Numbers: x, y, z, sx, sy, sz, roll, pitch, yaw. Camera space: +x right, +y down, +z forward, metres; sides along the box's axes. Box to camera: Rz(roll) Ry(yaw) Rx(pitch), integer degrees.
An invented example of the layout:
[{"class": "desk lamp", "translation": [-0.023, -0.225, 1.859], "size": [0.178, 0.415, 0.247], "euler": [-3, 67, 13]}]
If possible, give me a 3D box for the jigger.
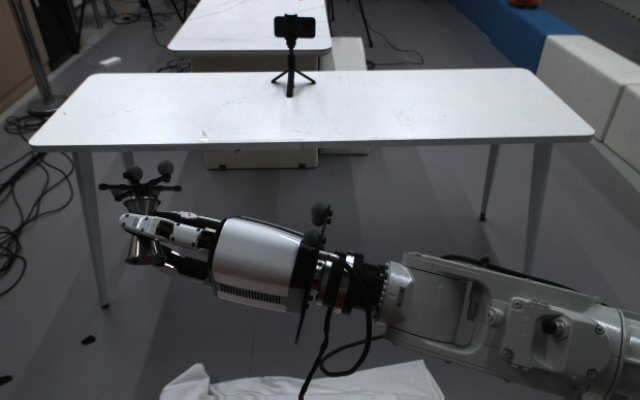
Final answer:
[{"class": "jigger", "translation": [-0.194, 0.035, 0.539], "size": [0.043, 0.043, 0.071], "euler": [-7, 73, -12]}]
